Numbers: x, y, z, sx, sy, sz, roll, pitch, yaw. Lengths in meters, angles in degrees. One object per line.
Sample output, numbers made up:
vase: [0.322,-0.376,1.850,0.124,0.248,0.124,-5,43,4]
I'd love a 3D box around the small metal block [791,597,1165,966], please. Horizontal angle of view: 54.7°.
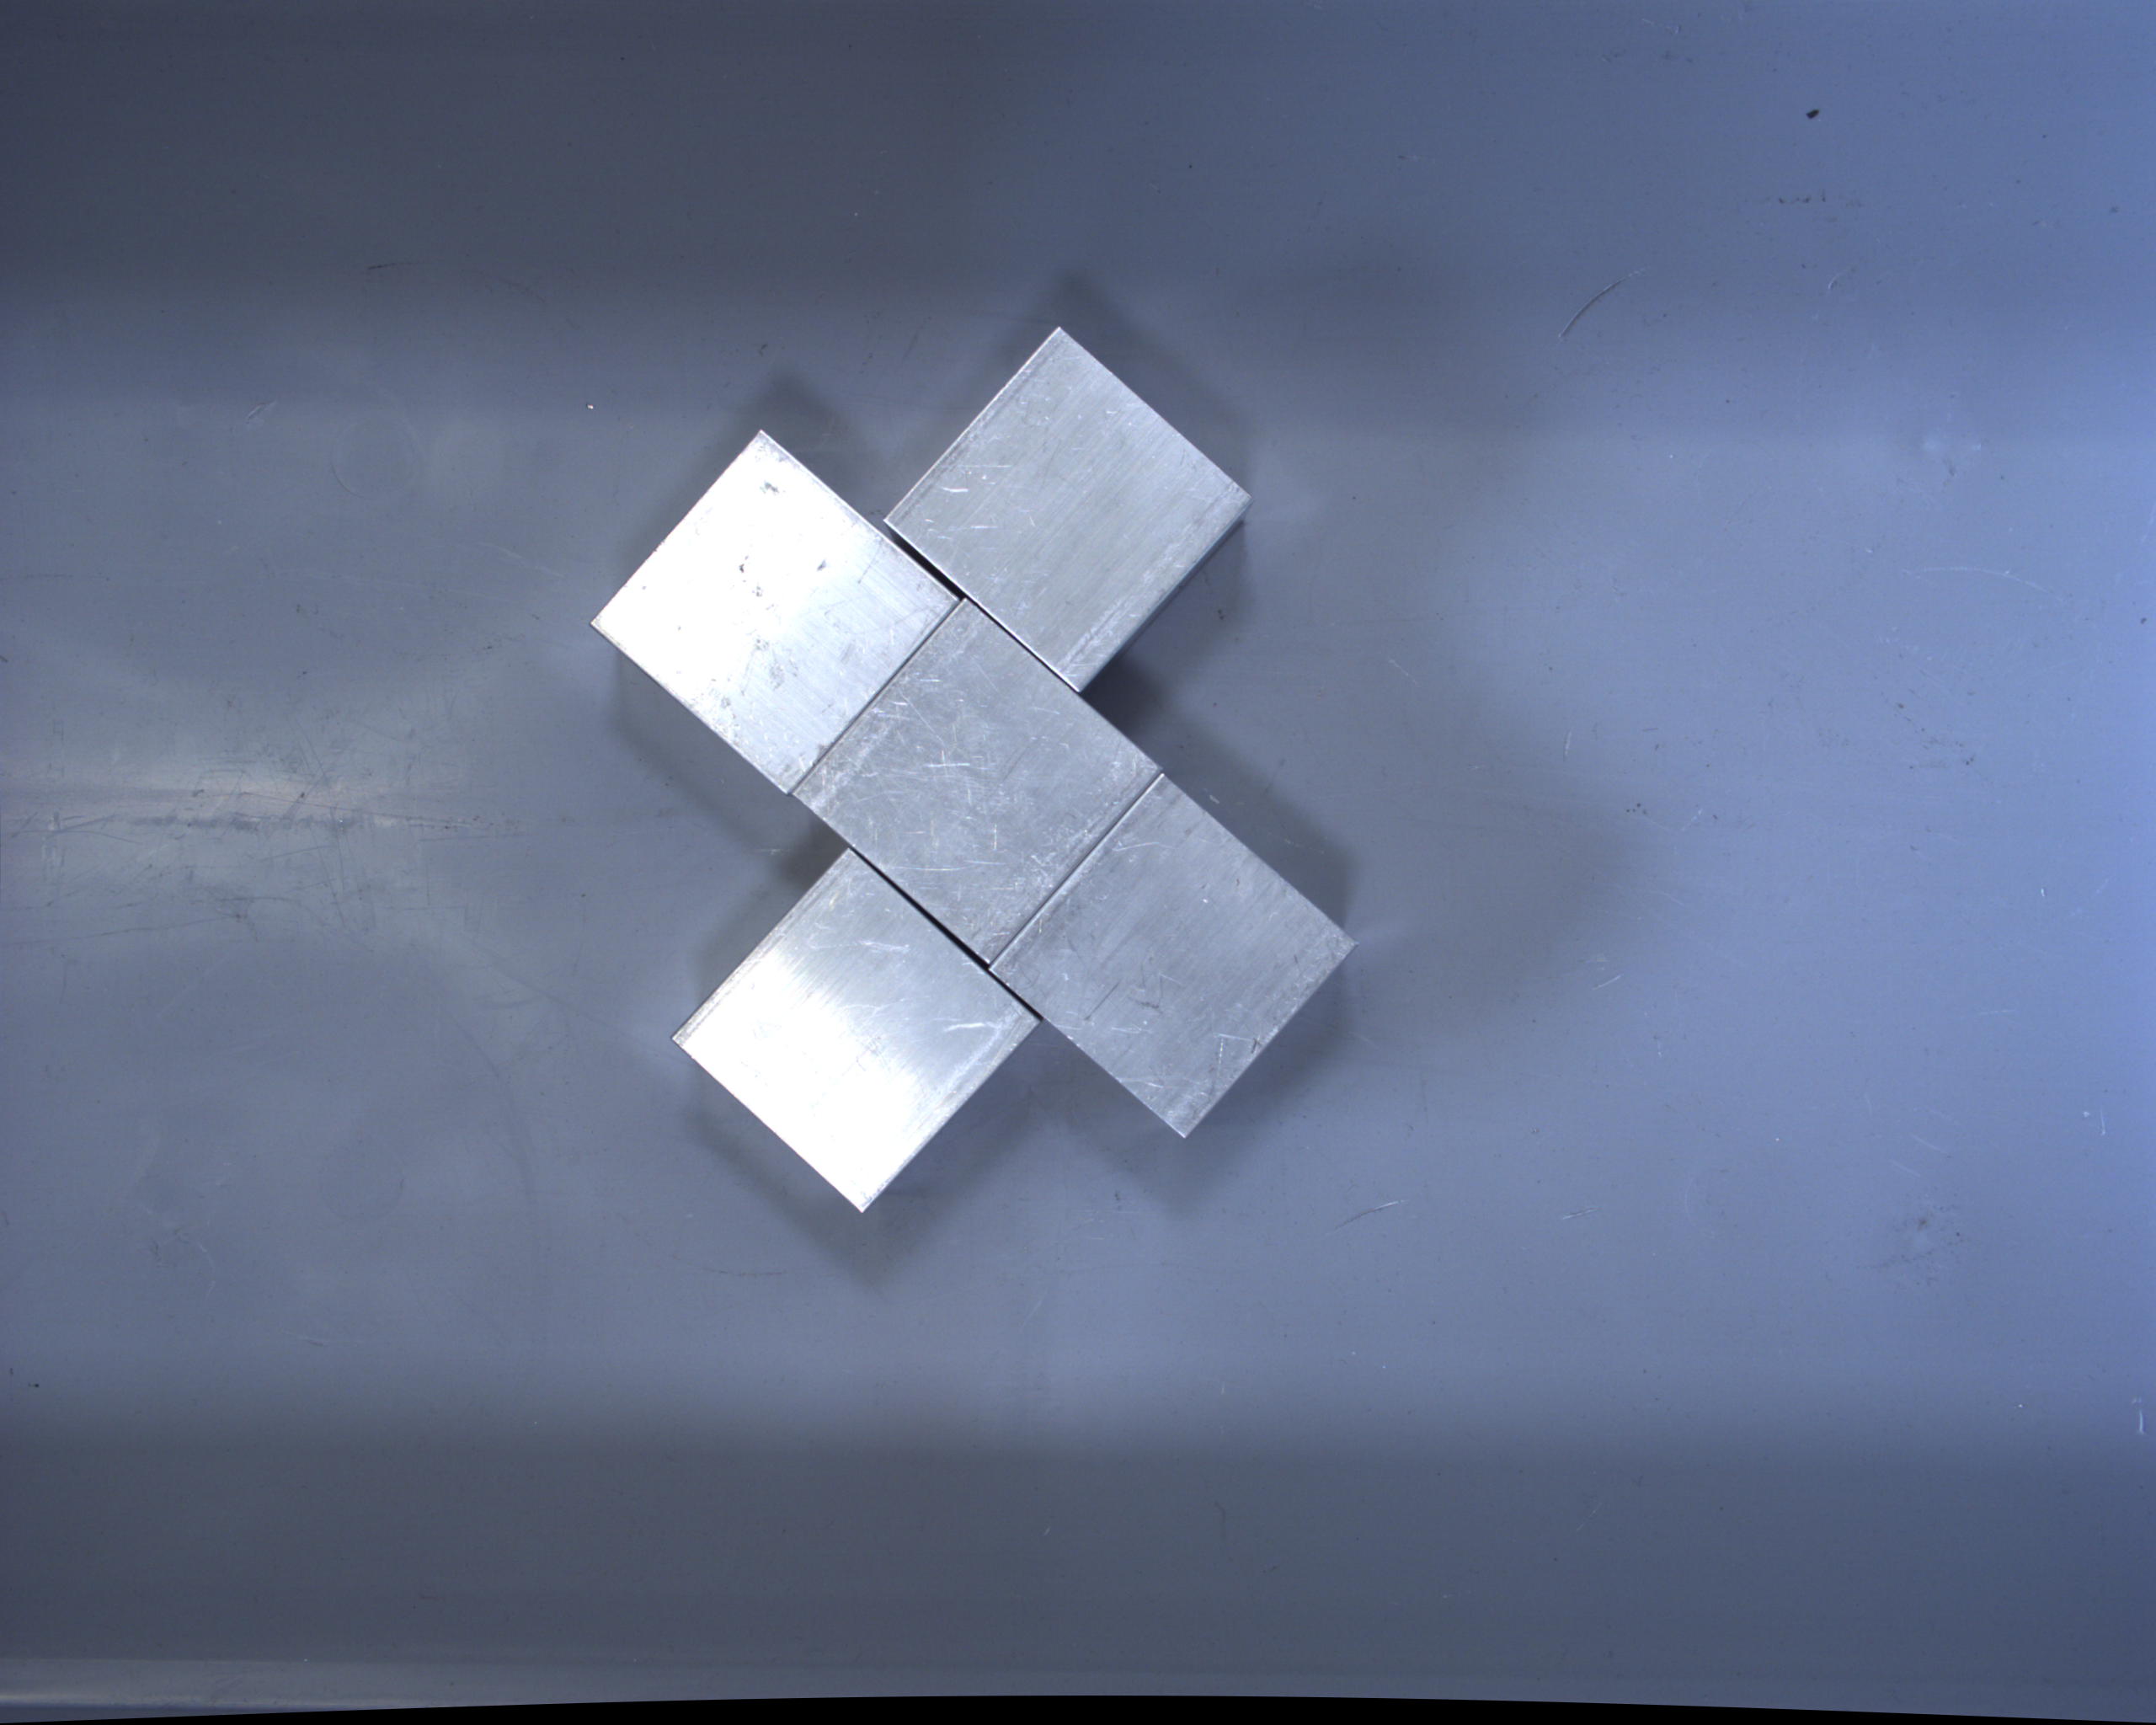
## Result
small metal block: [-0.019,-0.015,0.408,0.050,0.025,0.050,41,90,0]

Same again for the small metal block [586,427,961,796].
small metal block: [-0.058,-0.048,0.409,0.050,0.025,0.050,41,90,0]

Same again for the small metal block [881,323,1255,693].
small metal block: [-0.002,-0.067,0.409,0.050,0.025,0.050,42,89,0]

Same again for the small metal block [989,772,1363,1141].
small metal block: [0.019,0.018,0.409,0.050,0.025,0.050,41,90,0]

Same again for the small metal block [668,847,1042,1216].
small metal block: [-0.042,0.032,0.409,0.050,0.025,0.050,43,91,0]
